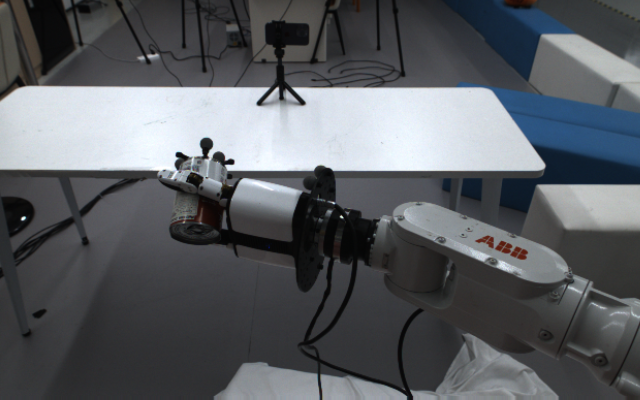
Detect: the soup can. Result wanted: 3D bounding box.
[{"bbox_3d":[-0.161,0.001,0.649,0.067,0.067,0.101,0,61,-3],"label":"soup can"}]
